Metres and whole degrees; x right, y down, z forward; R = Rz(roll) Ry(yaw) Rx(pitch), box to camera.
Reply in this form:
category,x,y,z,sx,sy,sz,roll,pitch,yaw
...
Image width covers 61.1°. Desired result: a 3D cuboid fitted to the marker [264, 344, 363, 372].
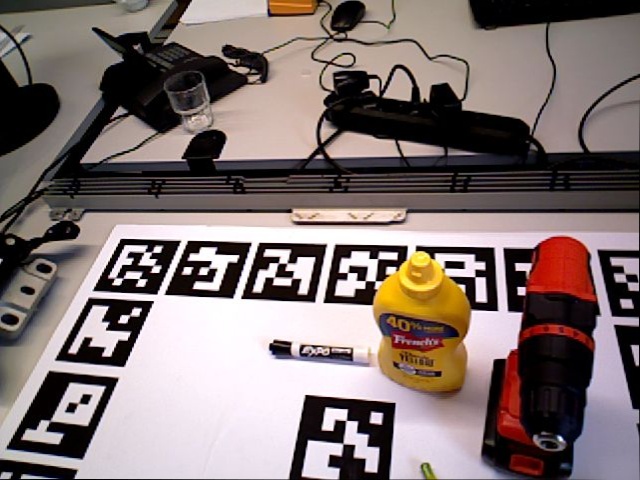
category,x,y,z,sx,sy,sz,roll,pitch,yaw
marker,-0.010,0.140,0.649,0.121,0.020,0.019,4,51,15

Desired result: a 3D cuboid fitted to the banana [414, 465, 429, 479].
category,x,y,z,sx,sy,sz,roll,pitch,yaw
banana,0.177,0.265,0.491,0.198,0.039,0.073,8,53,20

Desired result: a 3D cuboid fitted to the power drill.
category,x,y,z,sx,sy,sz,roll,pitch,yaw
power drill,0.189,0.135,0.471,0.057,0.190,0.180,15,51,20

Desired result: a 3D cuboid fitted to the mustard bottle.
category,x,y,z,sx,sy,sz,roll,pitch,yaw
mustard bottle,0.100,0.094,0.549,0.096,0.195,0.057,12,52,19
